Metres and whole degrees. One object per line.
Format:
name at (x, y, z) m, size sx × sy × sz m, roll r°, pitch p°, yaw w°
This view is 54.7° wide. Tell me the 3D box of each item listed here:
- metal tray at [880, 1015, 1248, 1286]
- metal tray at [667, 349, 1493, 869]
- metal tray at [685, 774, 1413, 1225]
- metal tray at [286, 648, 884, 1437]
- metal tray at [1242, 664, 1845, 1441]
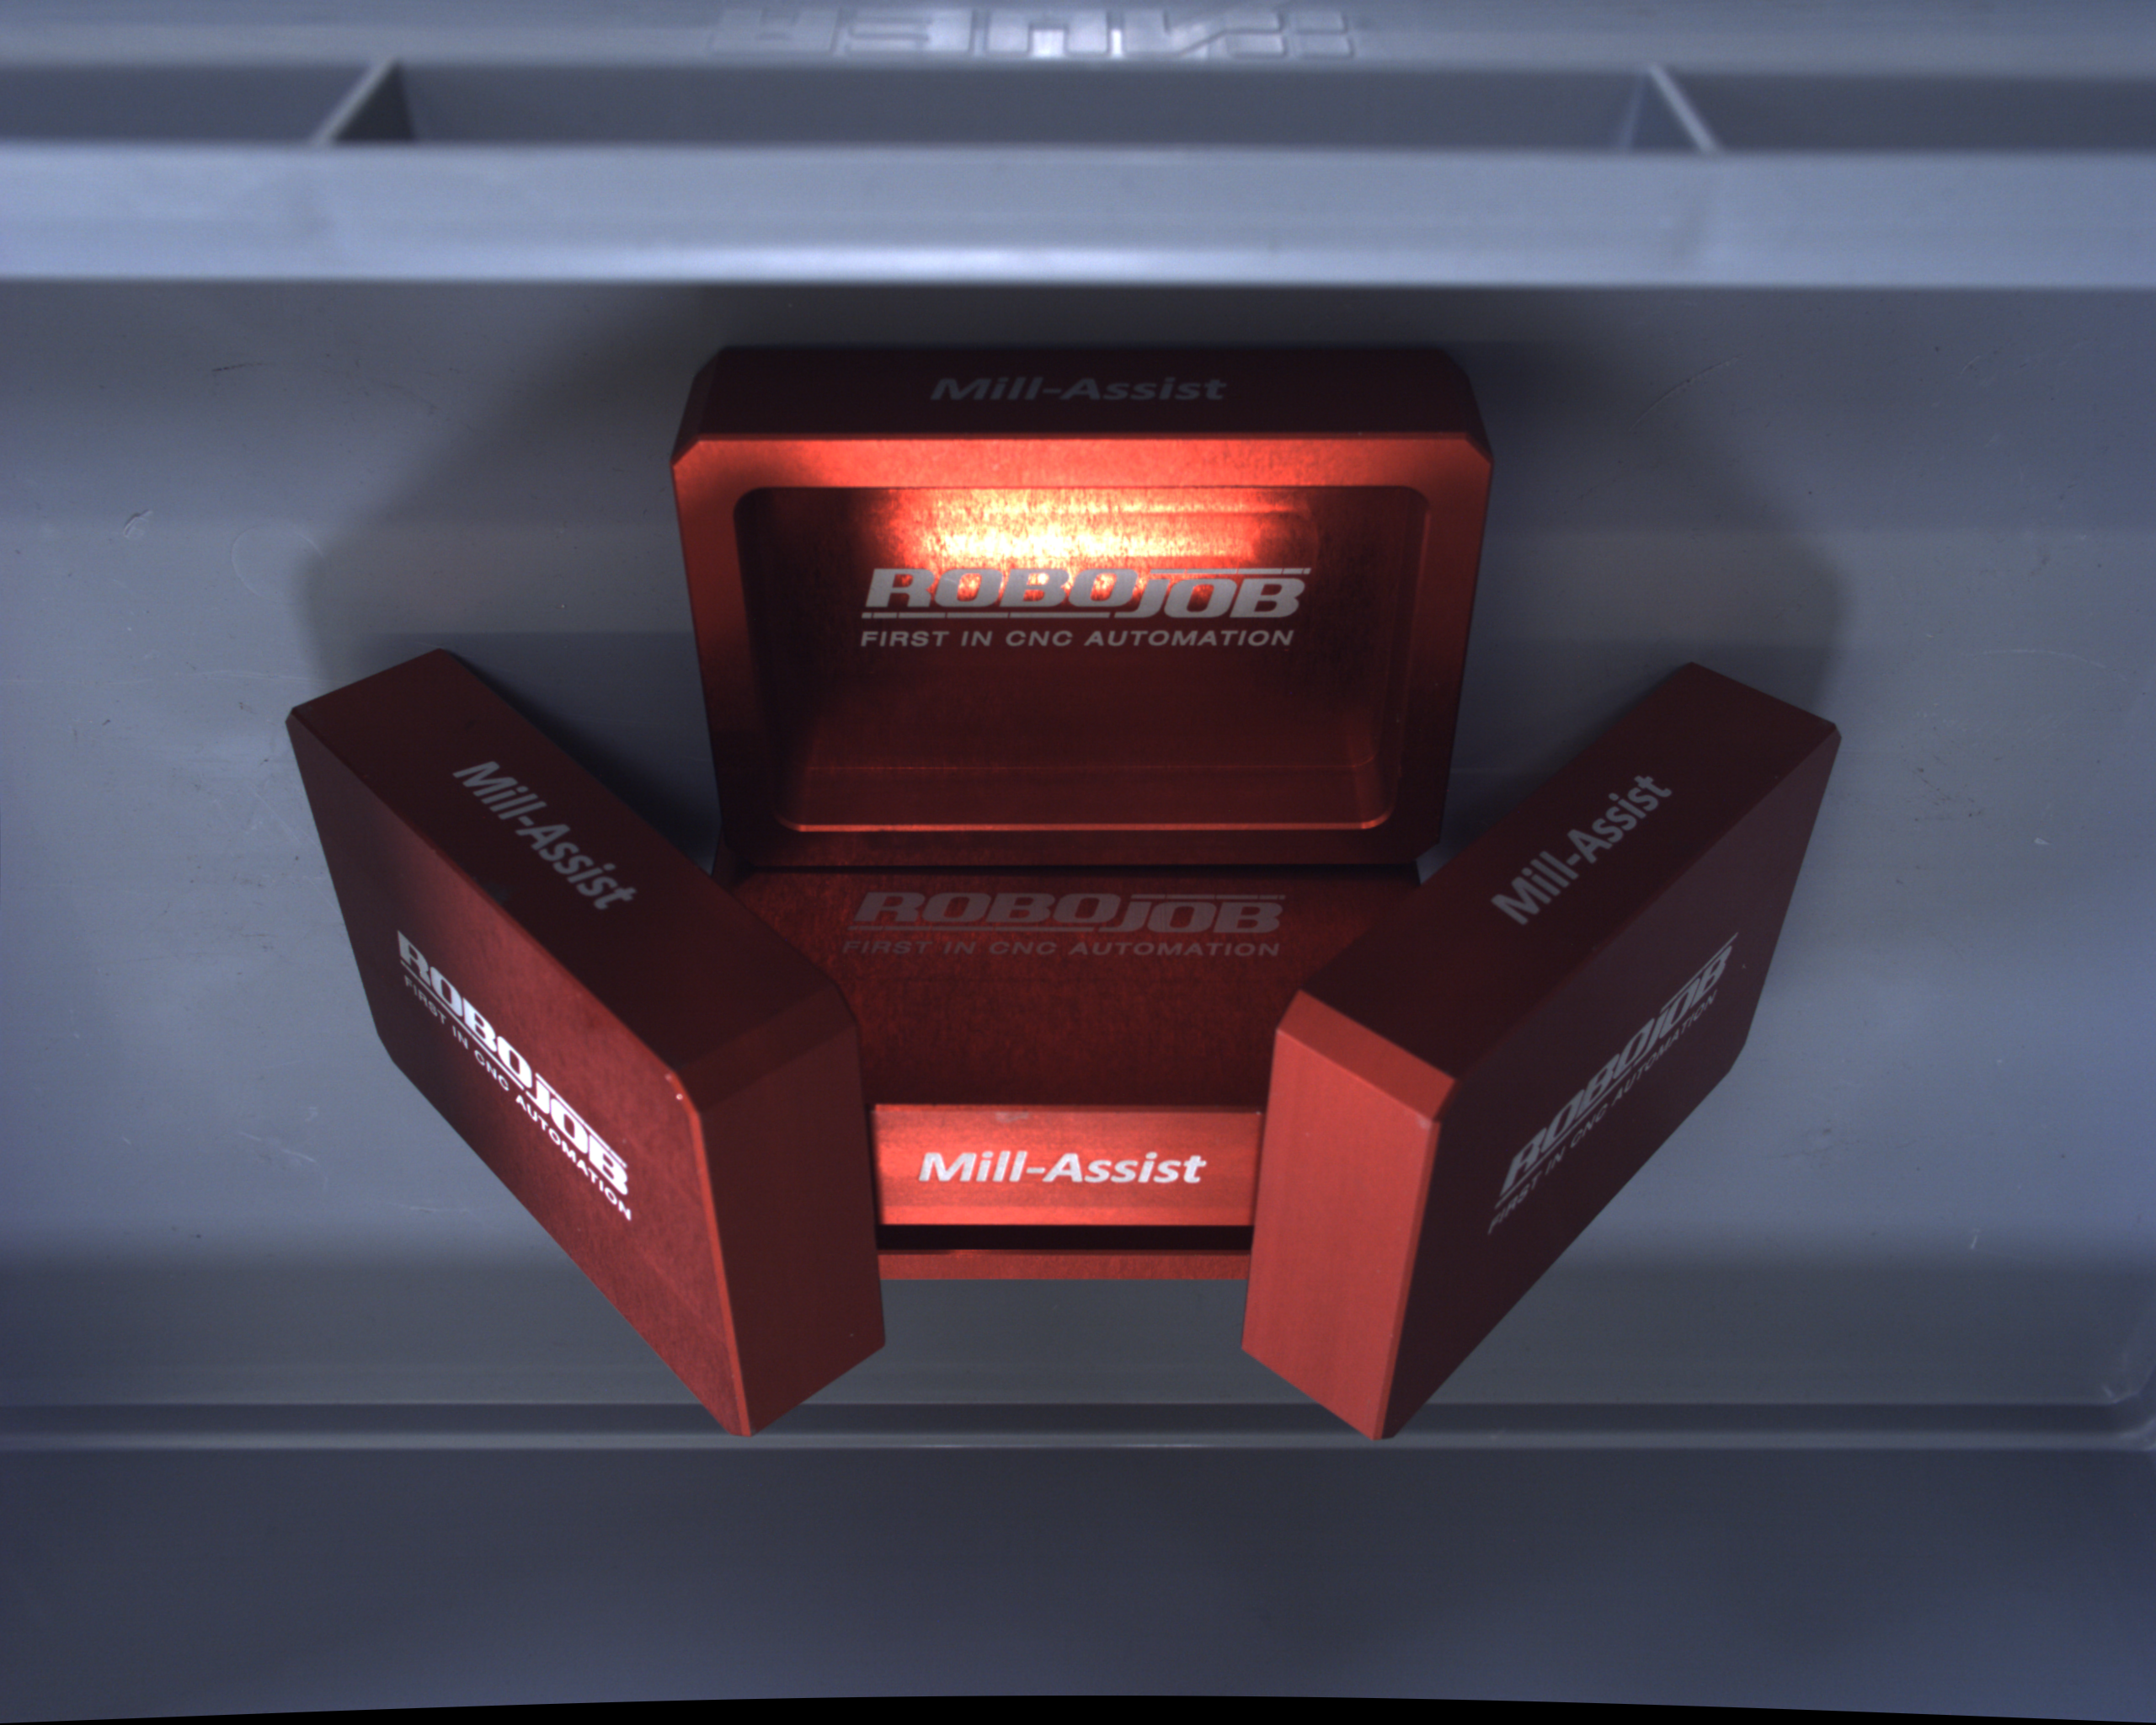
metal tray at (-0.003, 0.050, 0.444) m, size 0.131 × 0.030 × 0.089 m, roll 0°, pitch 130°, yaw -1°
metal tray at (0.001, -0.042, 0.367) m, size 0.131 × 0.030 × 0.089 m, roll -1°, pitch 131°, yaw -1°
metal tray at (-0.004, 0.022, 0.383) m, size 0.131 × 0.090 × 0.030 m, roll 0°, pitch 130°, yaw -1°
metal tray at (-0.088, 0.030, 0.371) m, size 0.030 × 0.130 × 0.089 m, roll -30°, pitch 139°, yaw -31°
metal tray at (0.084, 0.031, 0.374) m, size 0.030 × 0.131 × 0.089 m, roll 31°, pitch 138°, yaw 30°
